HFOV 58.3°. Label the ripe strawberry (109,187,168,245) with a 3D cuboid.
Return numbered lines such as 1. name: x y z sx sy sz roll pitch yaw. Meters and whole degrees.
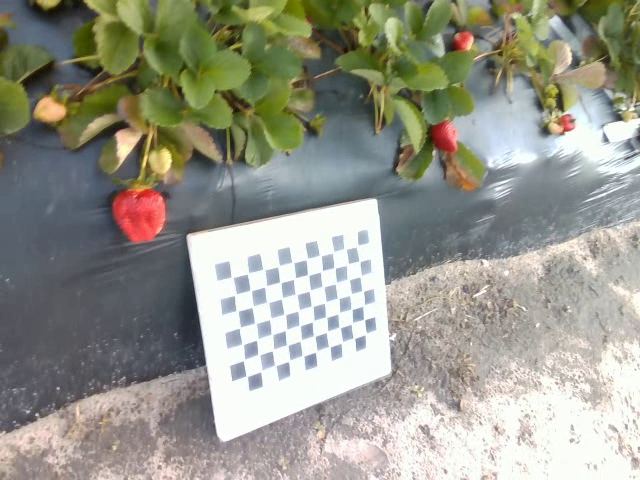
1. ripe strawberry: -0.228 -0.032 0.723 0.067 0.075 0.039 -8 8 -30
